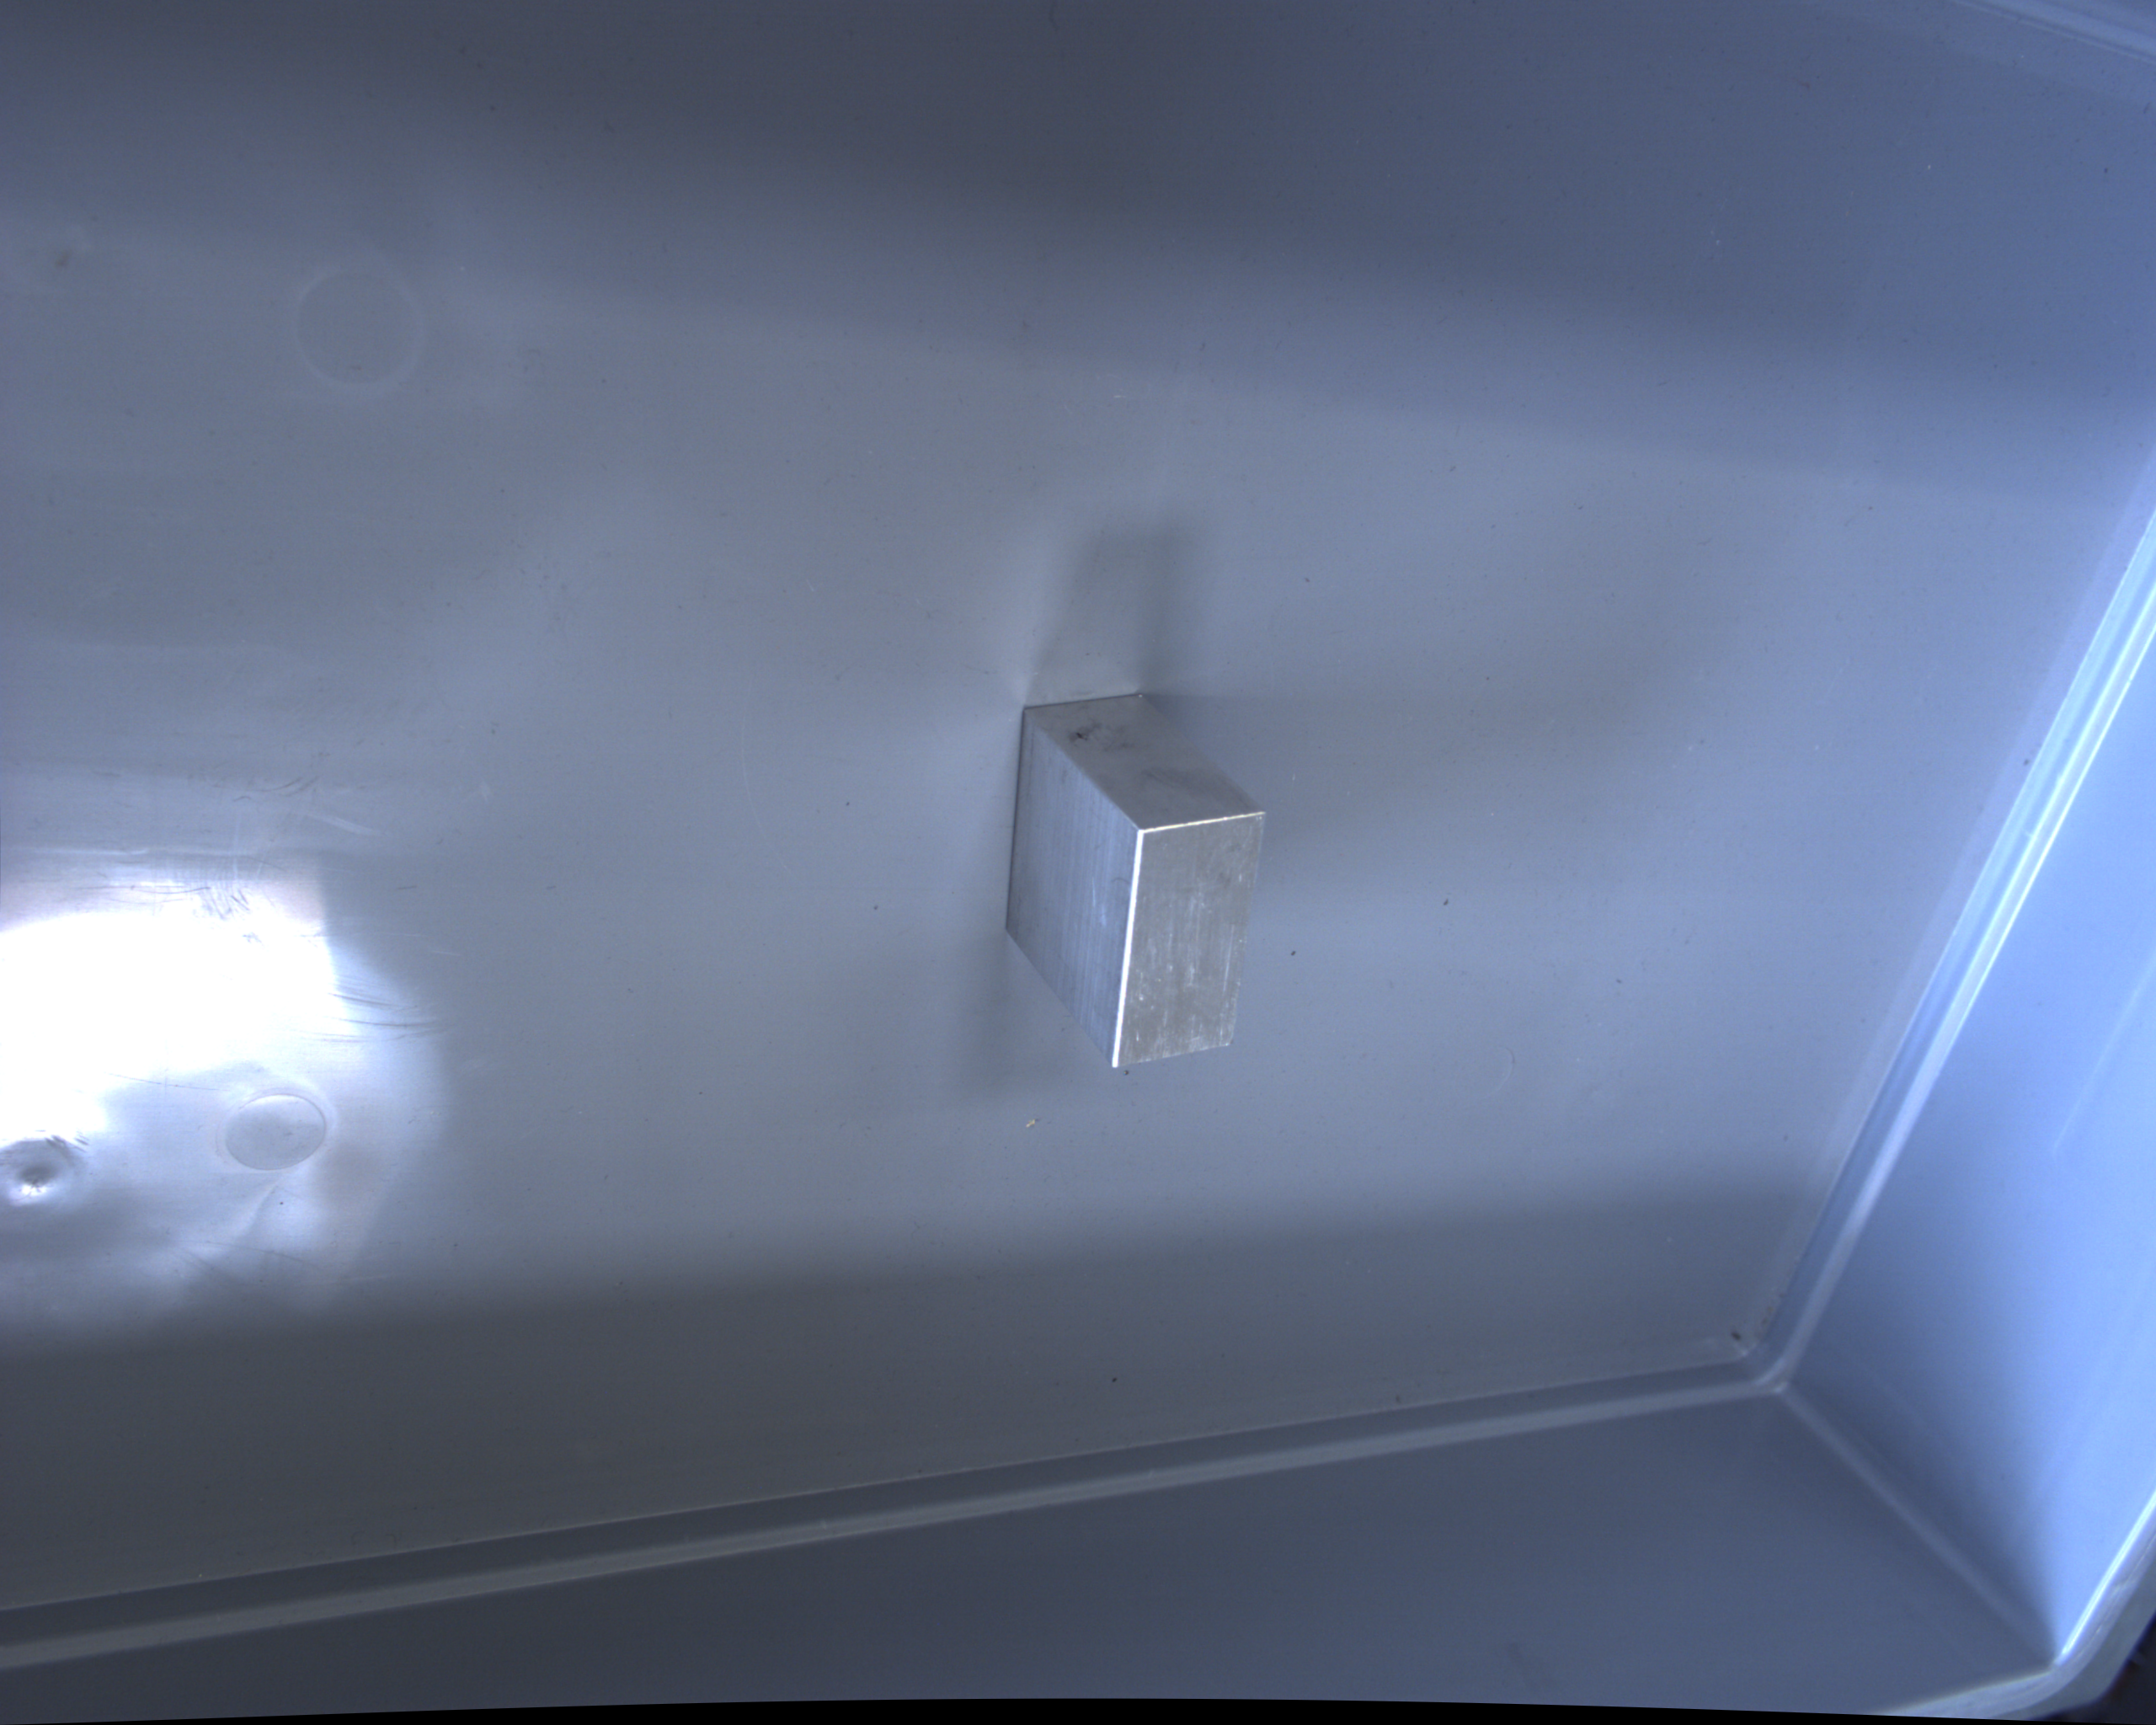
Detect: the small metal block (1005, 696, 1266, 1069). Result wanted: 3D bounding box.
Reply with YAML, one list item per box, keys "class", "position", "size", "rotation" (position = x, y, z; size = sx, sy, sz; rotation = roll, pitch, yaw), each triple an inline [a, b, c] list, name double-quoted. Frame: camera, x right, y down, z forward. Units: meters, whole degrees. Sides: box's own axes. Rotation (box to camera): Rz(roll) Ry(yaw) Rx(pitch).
- class: "small metal block"
  position: [0.009, 0.003, 0.394]
  size: [0.025, 0.050, 0.050]
  rotation: [-9, 122, -24]
